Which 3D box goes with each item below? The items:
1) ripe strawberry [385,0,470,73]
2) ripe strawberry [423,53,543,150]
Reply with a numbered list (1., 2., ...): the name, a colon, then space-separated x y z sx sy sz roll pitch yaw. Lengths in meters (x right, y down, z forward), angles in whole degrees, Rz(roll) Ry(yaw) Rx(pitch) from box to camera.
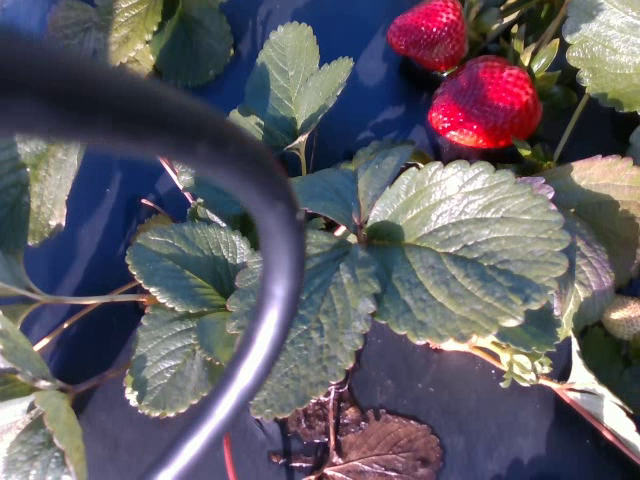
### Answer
1. ripe strawberry: 0.051 -0.104 0.325 0.051 0.037 0.043 -31 32 -24
2. ripe strawberry: 0.073 -0.060 0.299 0.057 0.046 0.052 -25 37 -21
